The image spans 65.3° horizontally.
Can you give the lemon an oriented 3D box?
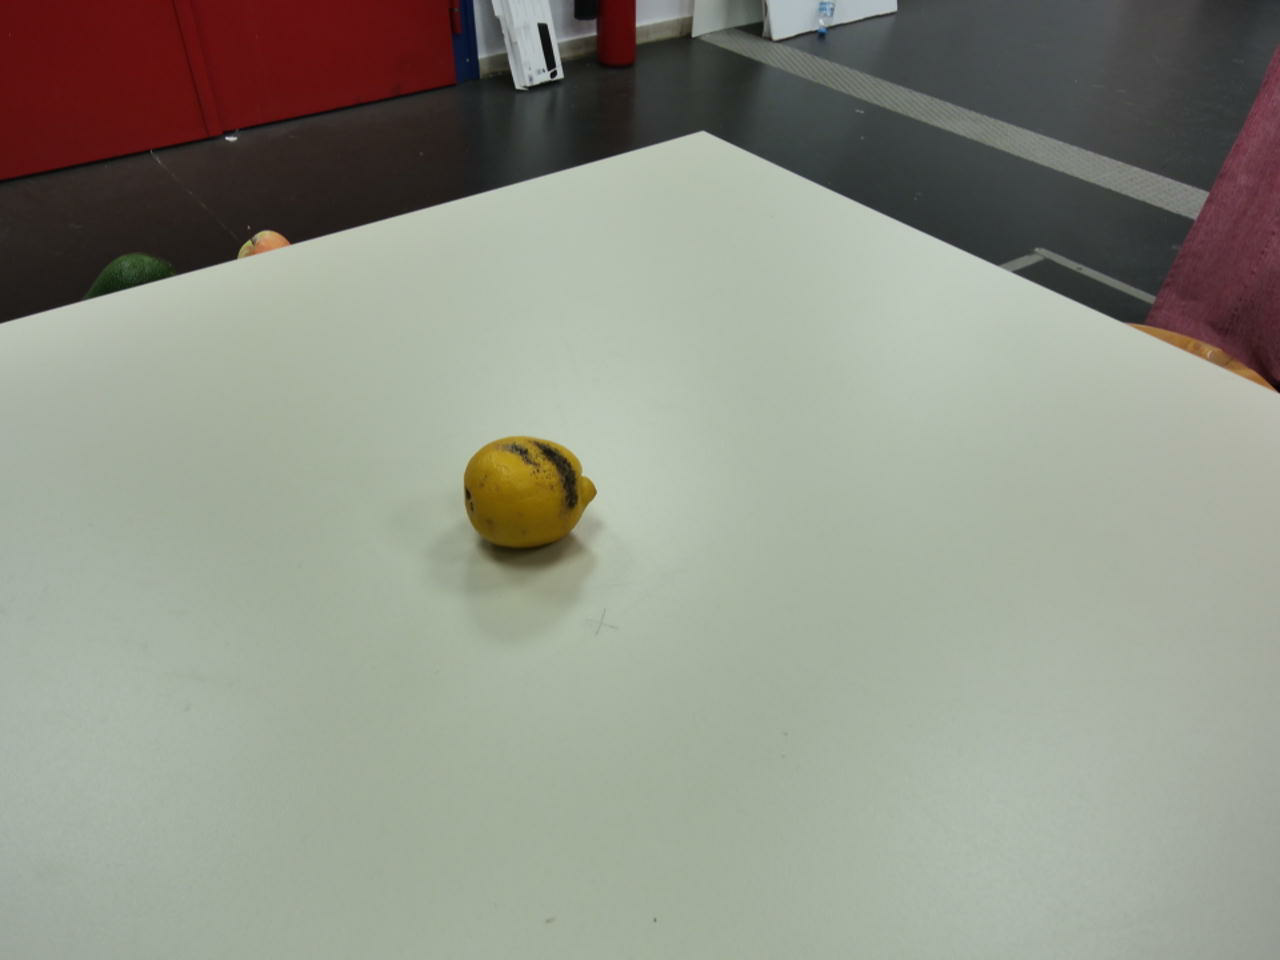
[{"bbox_3d":[-0.058,0.006,0.501,0.058,0.056,0.061,31,47,33],"label":"lemon"}]
